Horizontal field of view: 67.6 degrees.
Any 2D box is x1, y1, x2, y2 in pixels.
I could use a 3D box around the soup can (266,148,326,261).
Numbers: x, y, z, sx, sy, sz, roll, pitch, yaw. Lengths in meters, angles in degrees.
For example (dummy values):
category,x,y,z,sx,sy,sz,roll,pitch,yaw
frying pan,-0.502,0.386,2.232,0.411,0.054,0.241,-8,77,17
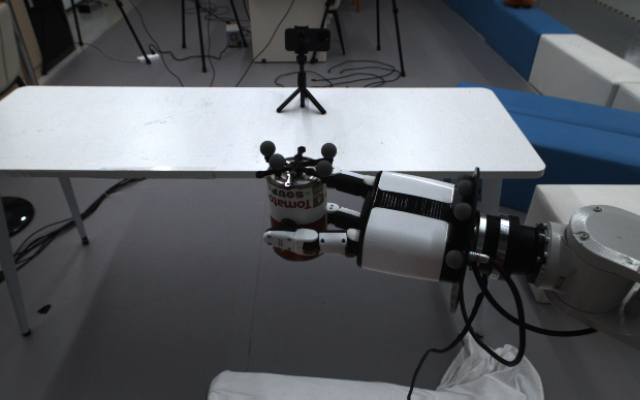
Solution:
category,x,y,z,sx,sy,sz,roll,pitch,yaw
soup can,-0.022,0.009,0.557,0.067,0.101,0.067,-2,34,1
